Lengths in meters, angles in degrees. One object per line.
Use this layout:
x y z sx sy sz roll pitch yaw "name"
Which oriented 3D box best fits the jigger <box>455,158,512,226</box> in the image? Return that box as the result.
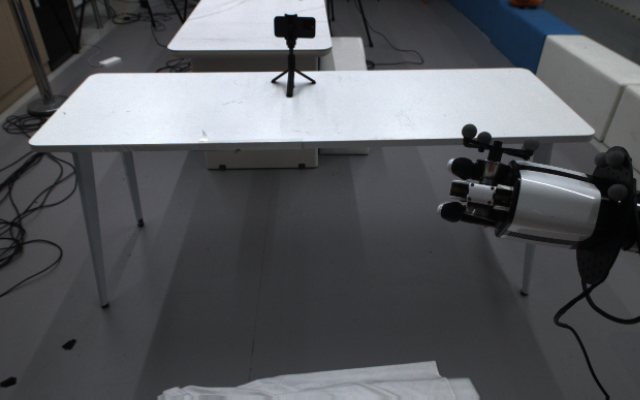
0.203 -0.012 0.585 0.043 0.071 0.043 14 1 0 "jigger"
